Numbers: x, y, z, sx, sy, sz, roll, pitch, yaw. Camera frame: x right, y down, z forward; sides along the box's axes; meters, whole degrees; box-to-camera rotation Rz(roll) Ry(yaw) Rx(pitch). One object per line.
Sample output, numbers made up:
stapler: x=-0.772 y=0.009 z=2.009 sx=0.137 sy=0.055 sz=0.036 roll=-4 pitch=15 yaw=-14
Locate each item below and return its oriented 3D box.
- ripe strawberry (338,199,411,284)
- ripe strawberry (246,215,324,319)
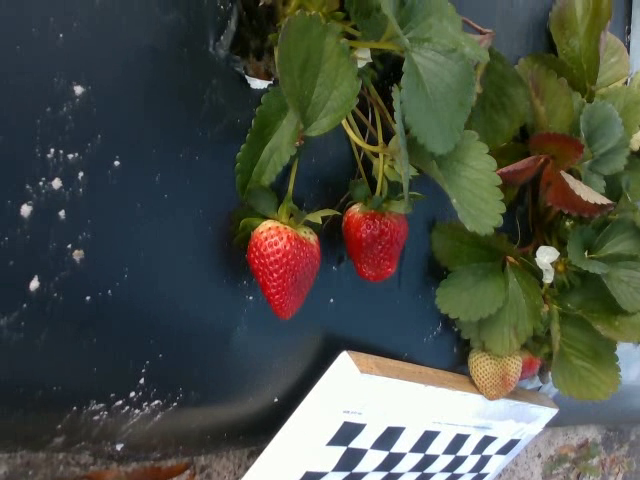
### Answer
ripe strawberry: x=0.037 y=0.003 z=0.367 sx=0.042 sy=0.053 sz=0.034 roll=5 pitch=-2 yaw=-31
ripe strawberry: x=-0.019 y=0.018 z=0.334 sx=0.050 sy=0.061 sz=0.045 roll=10 pitch=-9 yaw=-34
